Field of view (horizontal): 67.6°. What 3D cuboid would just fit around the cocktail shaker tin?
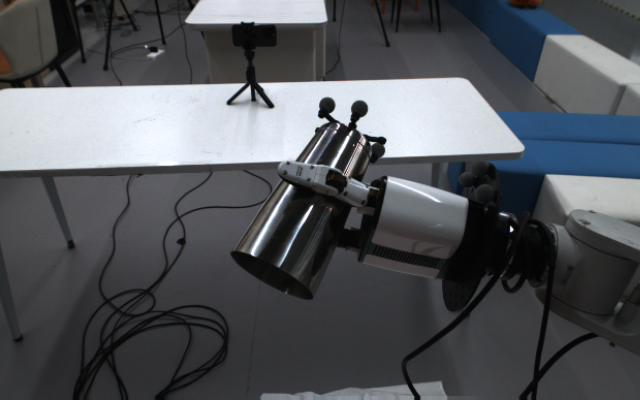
[{"bbox_3d":[-0.007,0.002,0.499,0.093,0.093,0.170,18,66,22],"label":"cocktail shaker tin"}]
